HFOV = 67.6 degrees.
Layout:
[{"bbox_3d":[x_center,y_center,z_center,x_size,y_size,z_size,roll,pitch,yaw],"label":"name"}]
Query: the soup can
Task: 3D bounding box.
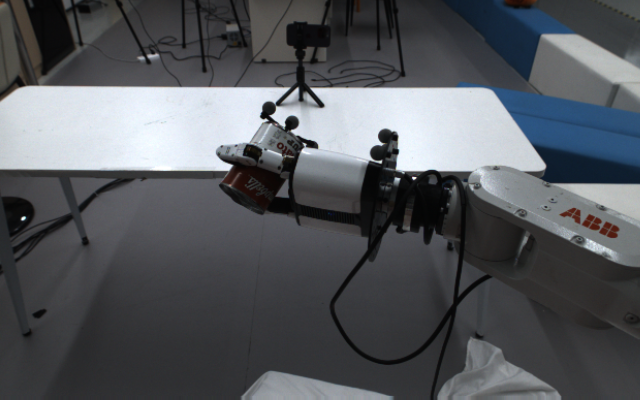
[{"bbox_3d":[-0.072,-0.041,0.618,0.067,0.067,0.101,24,73,28],"label":"soup can"}]
